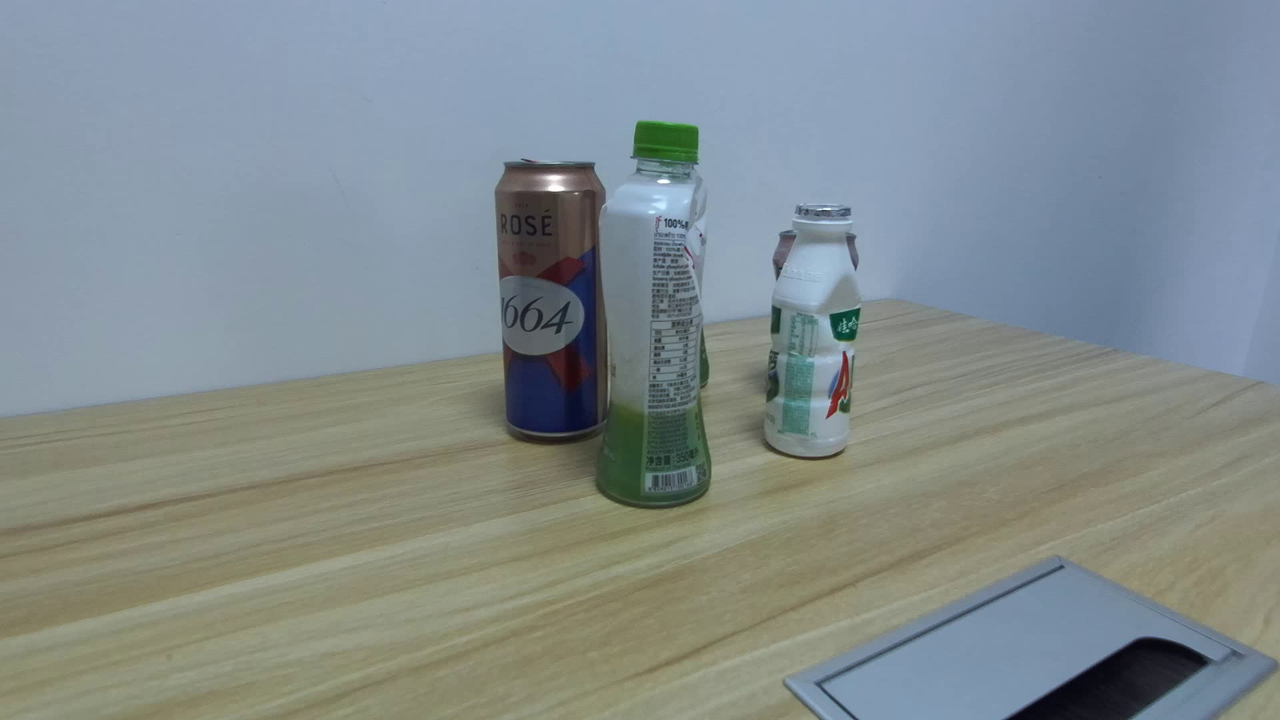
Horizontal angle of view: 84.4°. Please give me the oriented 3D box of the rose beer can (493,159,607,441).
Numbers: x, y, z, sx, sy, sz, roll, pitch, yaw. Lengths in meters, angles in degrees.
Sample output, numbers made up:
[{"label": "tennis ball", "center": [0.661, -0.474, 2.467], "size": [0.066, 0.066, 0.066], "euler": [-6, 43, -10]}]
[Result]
[{"label": "rose beer can", "center": [-0.054, -0.036, 0.446], "size": [0.068, 0.169, 0.068], "euler": [0, 16, 0]}]

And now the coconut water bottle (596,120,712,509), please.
[{"label": "coconut water bottle", "center": [0.009, -0.023, 0.362], "size": [0.069, 0.187, 0.069], "euler": [1, 14, 0]}]
